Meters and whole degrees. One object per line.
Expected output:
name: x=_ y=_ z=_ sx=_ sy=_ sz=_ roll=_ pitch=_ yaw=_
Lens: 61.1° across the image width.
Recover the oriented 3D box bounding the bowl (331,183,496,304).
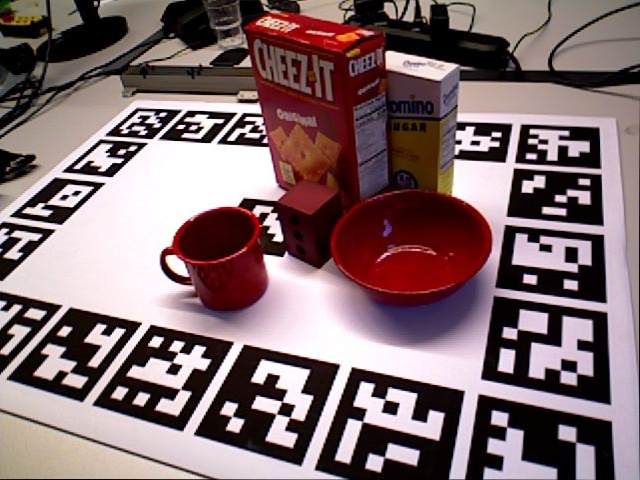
bowl: x=0.094 y=0.011 z=0.538 sx=0.161 sy=0.056 sz=0.159 roll=-7 pitch=41 yaw=5

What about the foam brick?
foam brick: x=-0.011 y=-0.019 z=0.604 sx=0.053 sy=0.079 sz=0.050 roll=19 pitch=47 yaw=31

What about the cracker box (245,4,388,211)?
cracker box: x=-0.002 y=-0.141 z=0.631 sx=0.070 sy=0.218 sz=0.164 roll=-32 pitch=45 yaw=-28

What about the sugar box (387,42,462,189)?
sugar box: x=0.108 y=-0.123 z=0.612 sx=0.093 sy=0.180 sz=0.044 roll=24 pitch=51 yaw=34

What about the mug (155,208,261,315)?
mug: x=-0.118 y=0.023 z=0.564 sx=0.117 sy=0.083 sz=0.091 roll=0 pitch=33 yaw=15
